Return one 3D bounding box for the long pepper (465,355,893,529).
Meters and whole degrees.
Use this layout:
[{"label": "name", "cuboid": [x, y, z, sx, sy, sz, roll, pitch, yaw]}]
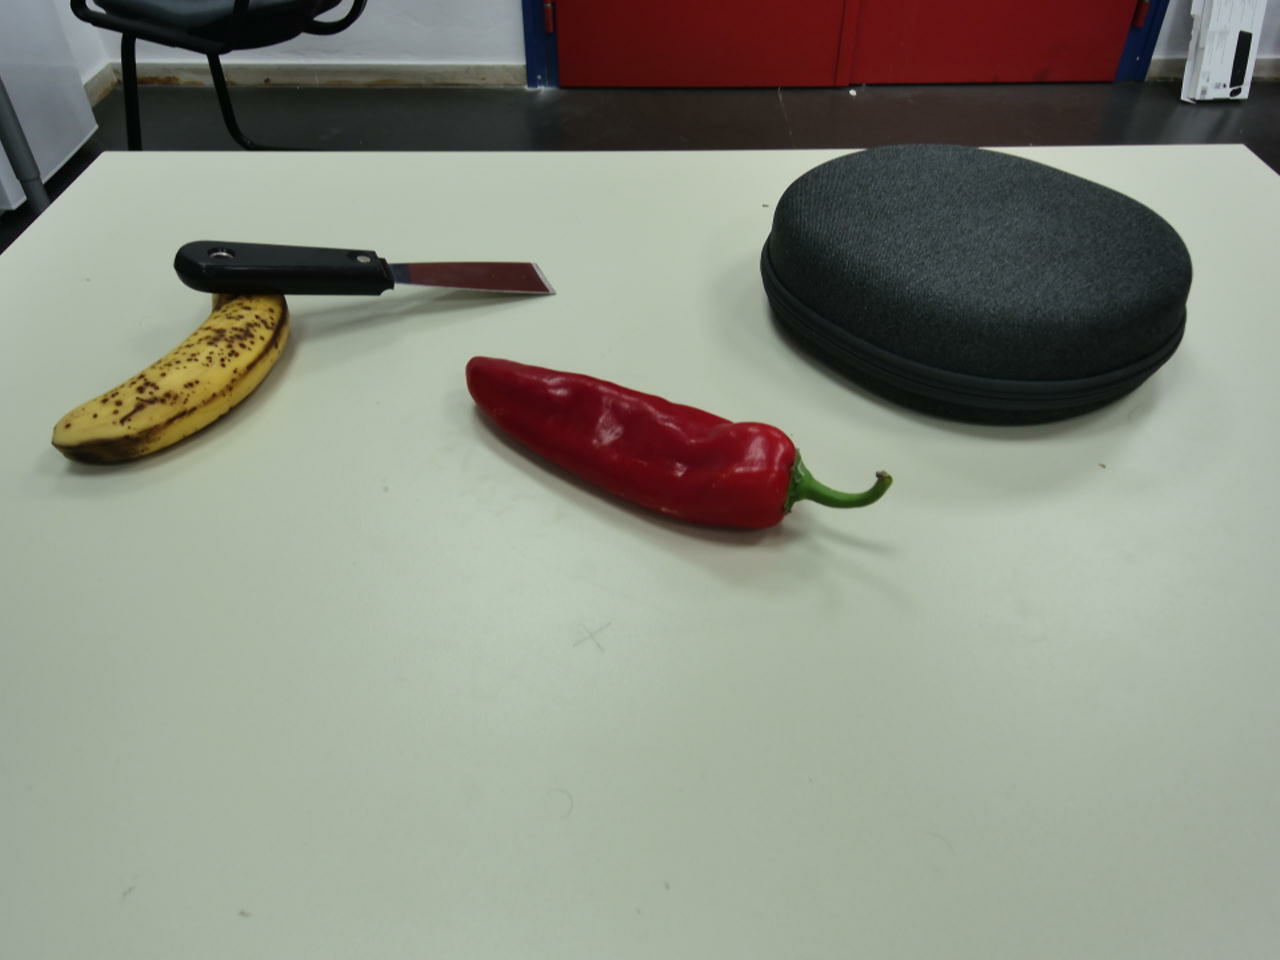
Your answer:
[{"label": "long pepper", "cuboid": [0.002, -0.018, 0.430, 0.211, 0.043, 0.050, 21, 43, 25]}]
